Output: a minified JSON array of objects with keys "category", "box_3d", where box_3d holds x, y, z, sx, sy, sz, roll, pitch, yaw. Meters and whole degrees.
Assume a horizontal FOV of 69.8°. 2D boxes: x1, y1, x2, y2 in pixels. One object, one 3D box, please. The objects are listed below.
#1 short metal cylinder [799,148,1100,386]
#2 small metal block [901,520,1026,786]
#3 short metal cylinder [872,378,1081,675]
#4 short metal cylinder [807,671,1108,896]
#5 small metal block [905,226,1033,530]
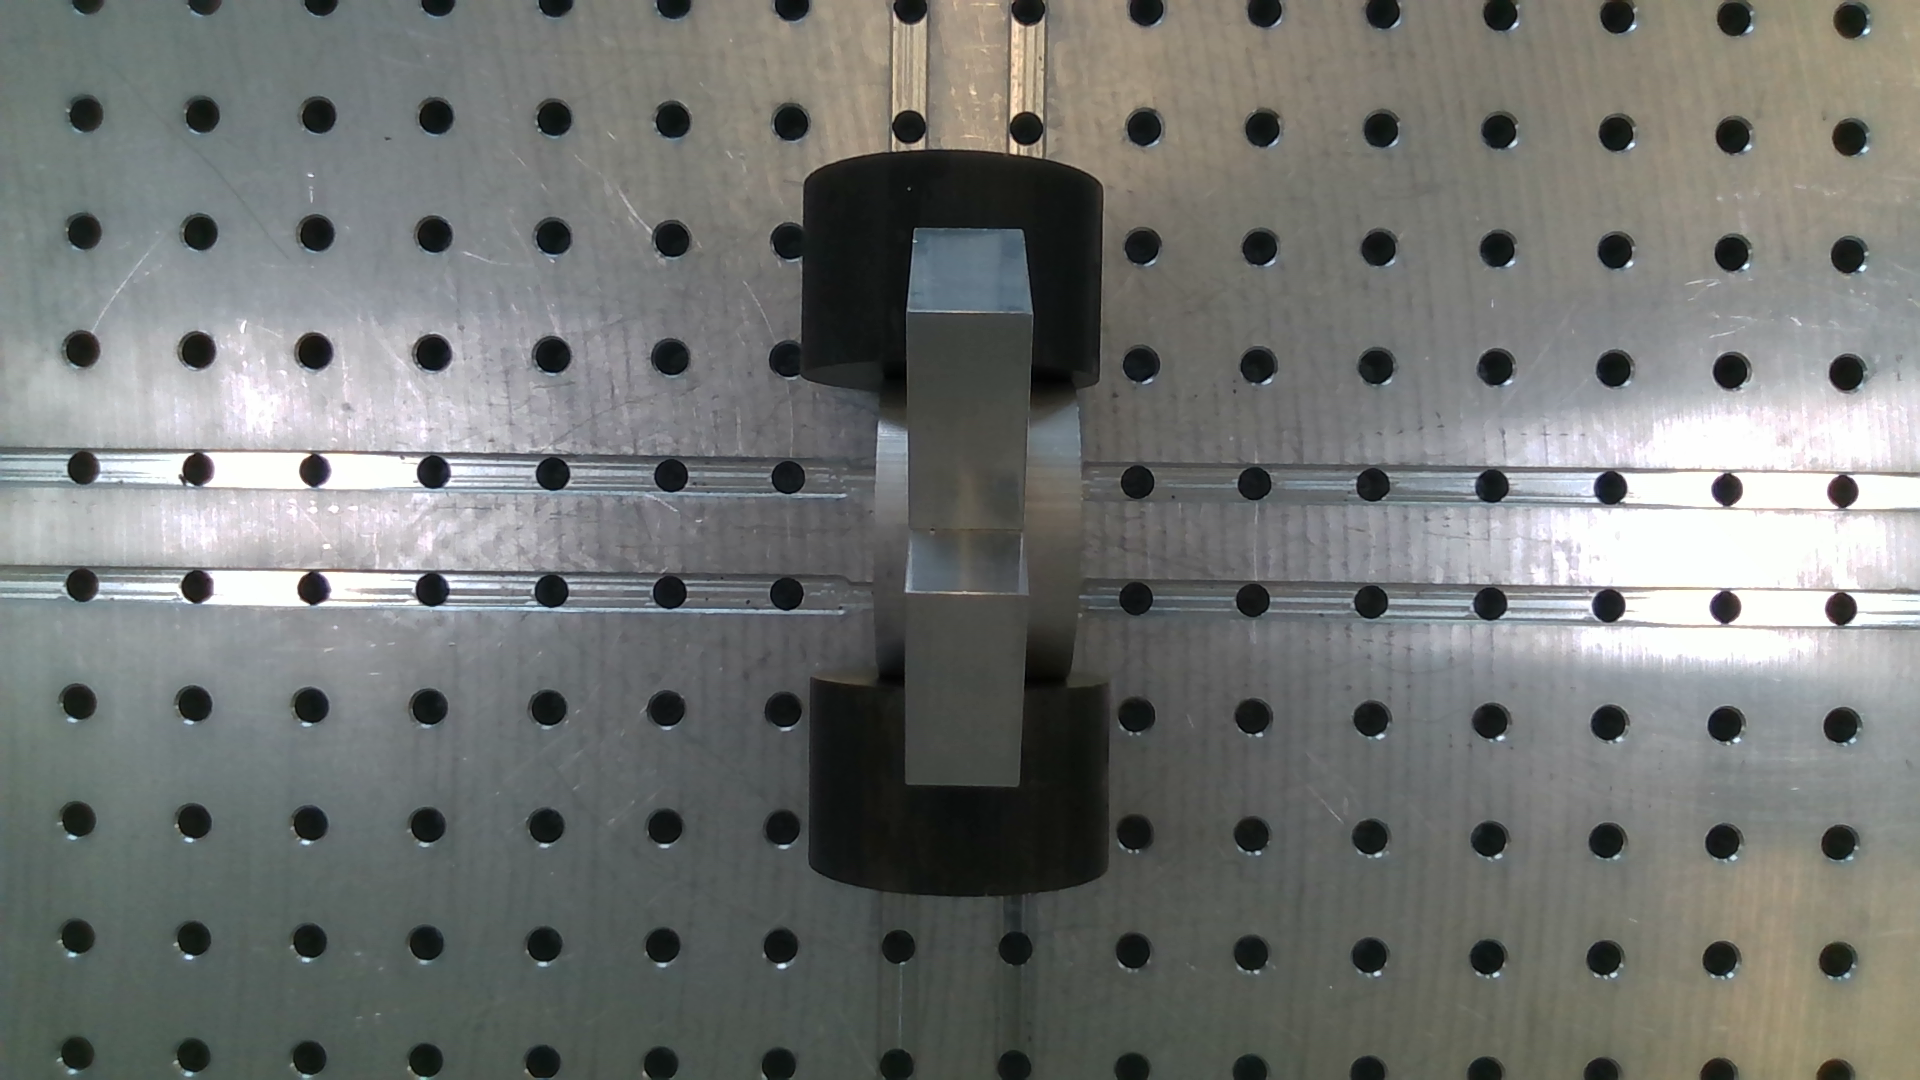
[{"category":"short metal cylinder","box_3d":[-0.002,-0.069,0.370,0.080,0.080,0.050,1,90,0]},{"category":"small metal block","box_3d":[0.001,0.019,0.309,0.025,0.050,0.050,1,121,0]},{"category":"short metal cylinder","box_3d":[0.004,-0.004,0.370,0.050,0.080,0.080,1,90,0]},{"category":"short metal cylinder","box_3d":[0.000,0.061,0.370,0.080,0.080,0.050,1,89,0]},{"category":"small metal block","box_3d":[0.002,-0.037,0.304,0.025,0.050,0.050,1,121,0]}]
